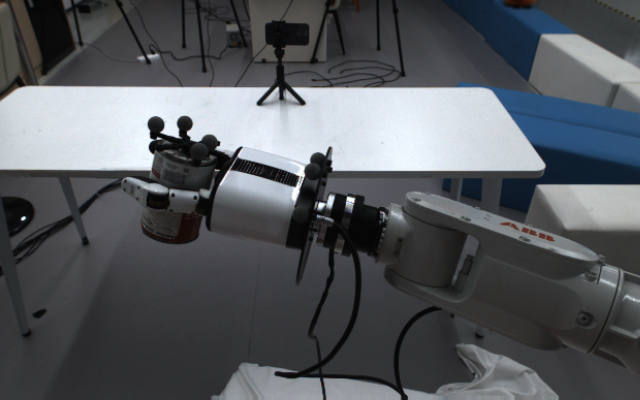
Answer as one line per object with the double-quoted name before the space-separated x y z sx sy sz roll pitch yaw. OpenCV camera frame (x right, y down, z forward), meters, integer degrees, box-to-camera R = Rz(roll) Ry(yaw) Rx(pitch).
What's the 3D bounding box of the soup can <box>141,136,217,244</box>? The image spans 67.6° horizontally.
"soup can" -0.158 -0.009 0.545 0.067 0.101 0.067 17 21 -7
